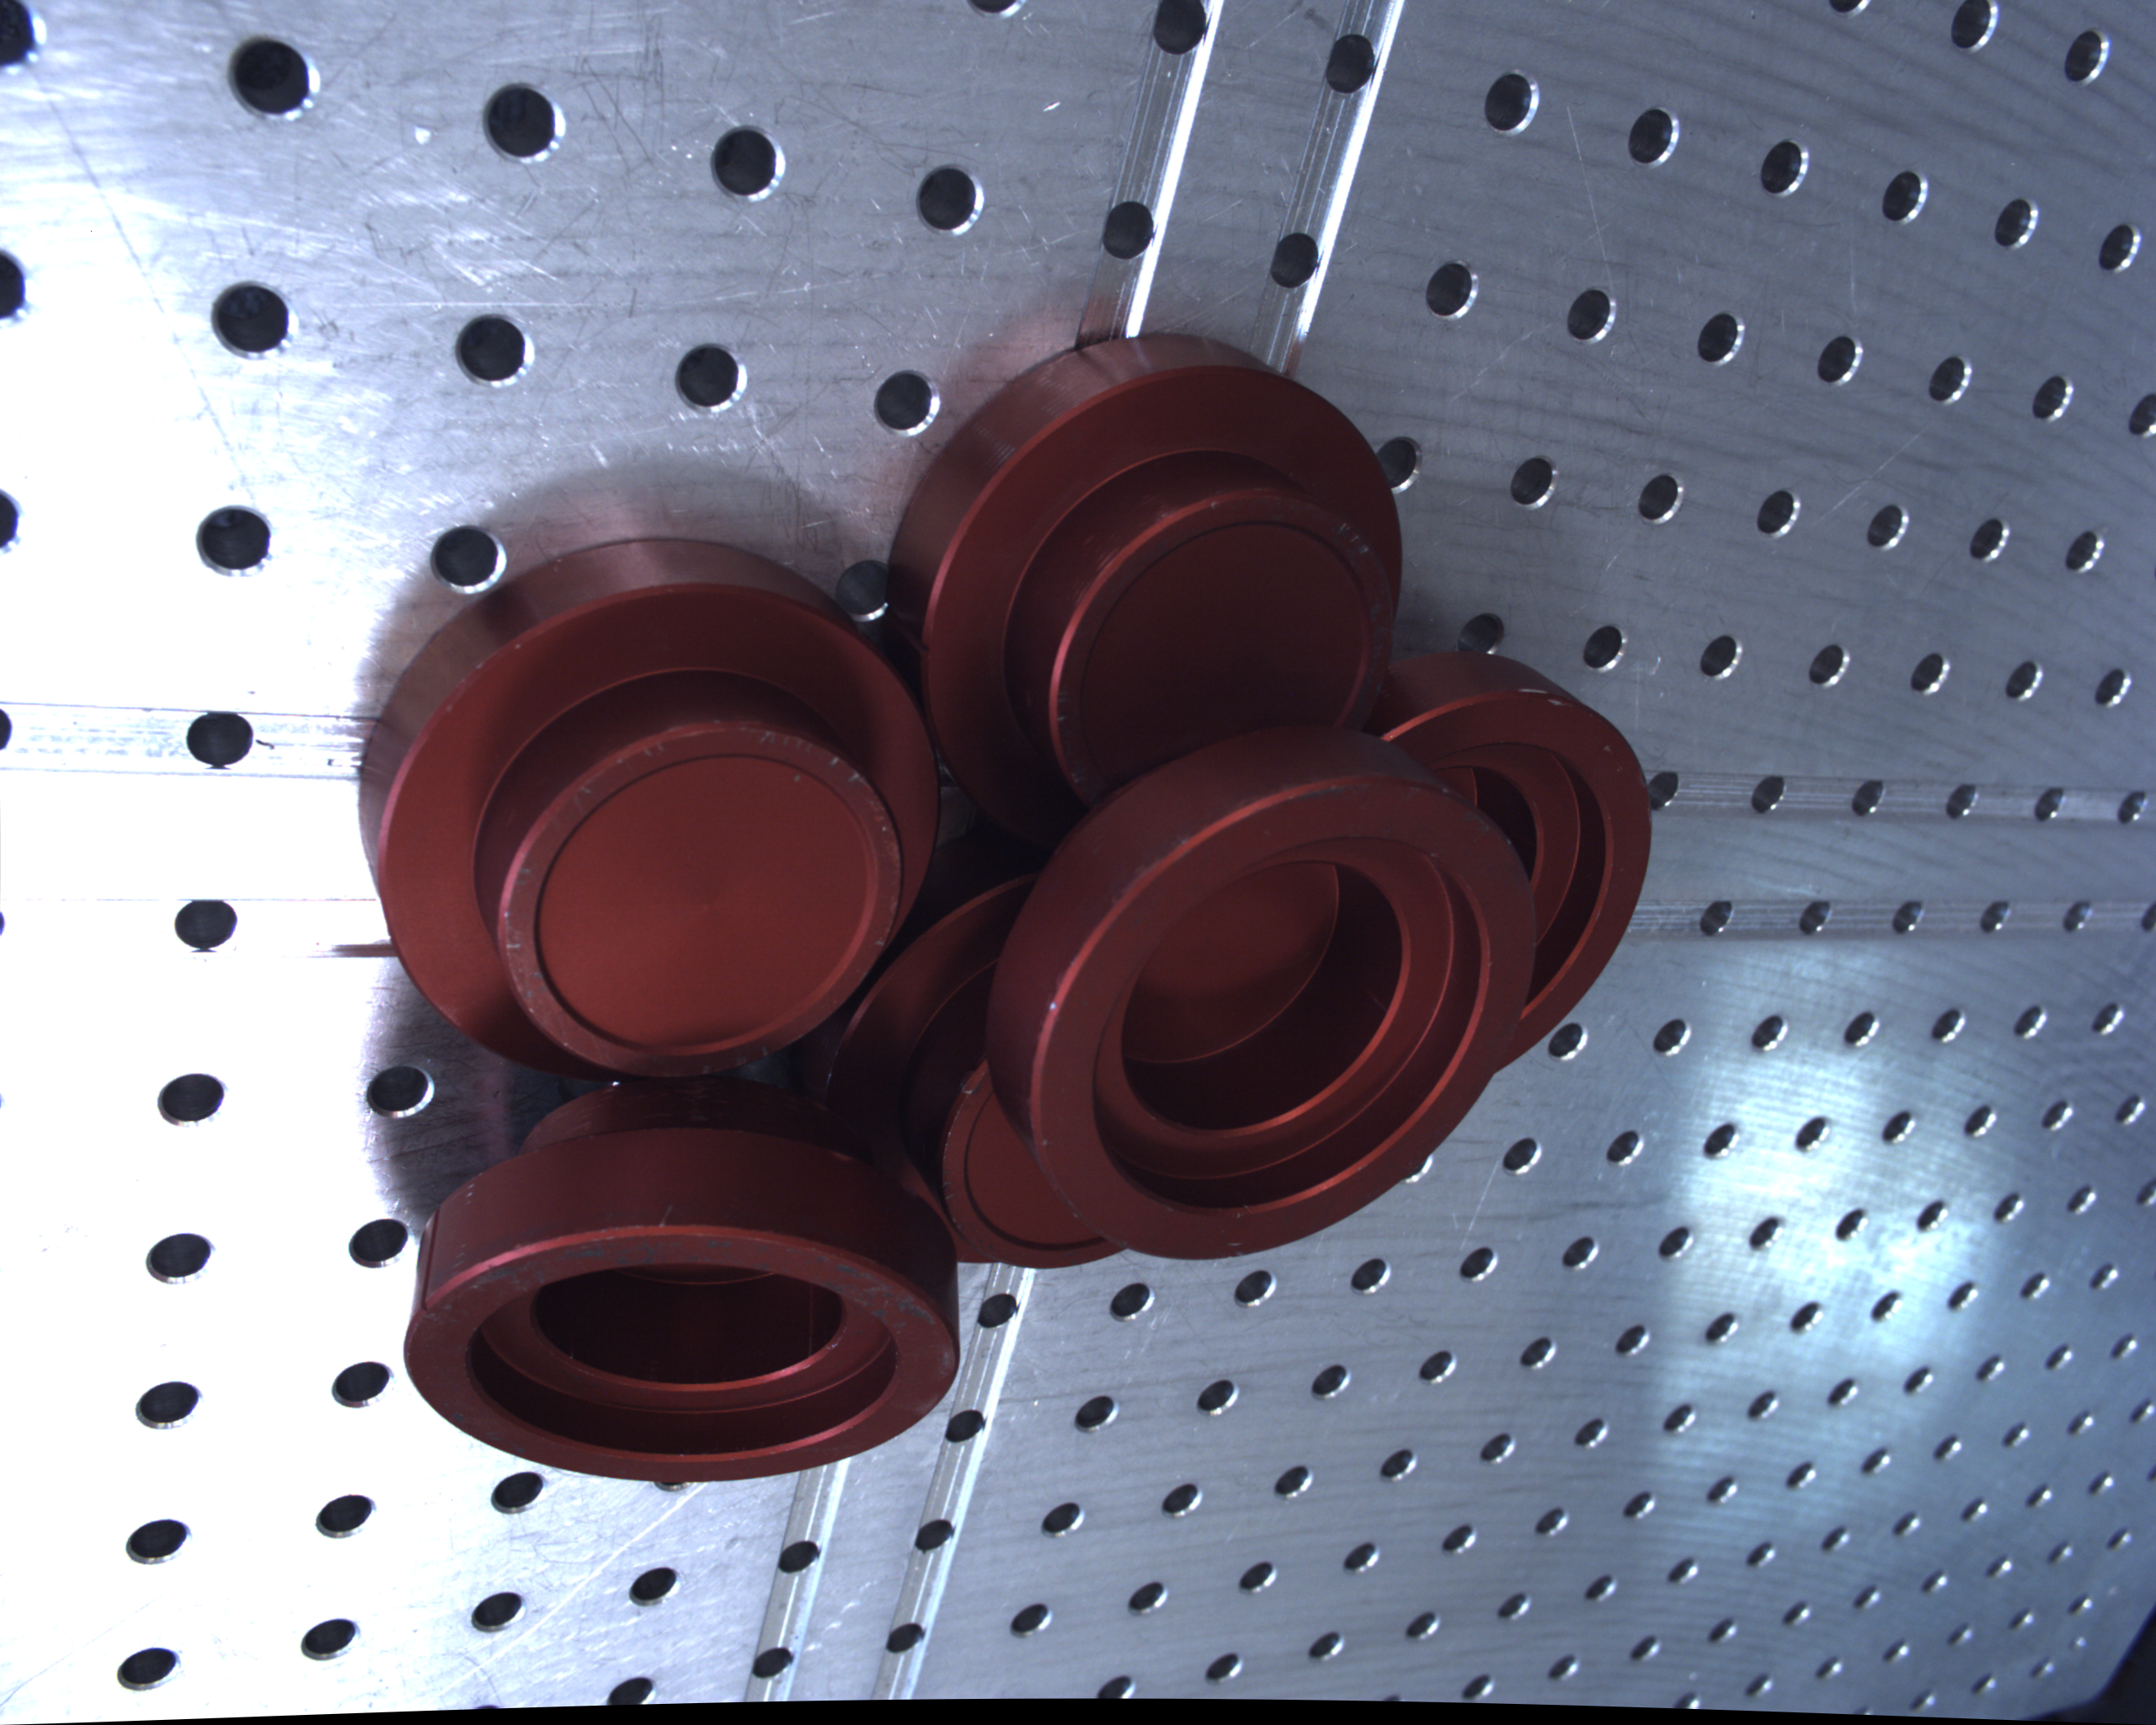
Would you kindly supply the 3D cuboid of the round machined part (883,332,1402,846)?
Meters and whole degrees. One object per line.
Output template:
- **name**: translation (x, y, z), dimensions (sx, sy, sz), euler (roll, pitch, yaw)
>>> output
- **round machined part**: translation (0.018, -0.043, 0.382), dimensions (0.099, 0.042, 0.097), euler (-14, 124, -21)

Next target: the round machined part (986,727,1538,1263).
- **round machined part**: translation (0.029, 0.020, 0.372), dimensions (0.099, 0.042, 0.097), euler (-14, 124, -21)

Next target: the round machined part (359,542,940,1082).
- **round machined part**: translation (-0.069, -0.002, 0.360), dimensions (0.099, 0.042, 0.097), euler (-14, 124, -21)

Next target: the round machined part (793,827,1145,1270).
- **round machined part**: translation (-0.004, 0.043, 0.423), dimensions (0.099, 0.042, 0.097), euler (-14, 124, -21)

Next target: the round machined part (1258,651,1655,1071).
- **round machined part**: translation (0.067, 0.000, 0.436), dimensions (0.099, 0.042, 0.097), euler (-14, 124, -21)

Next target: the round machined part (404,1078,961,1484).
- **round machined part**: translation (-0.072, 0.076, 0.390), dimensions (0.099, 0.042, 0.098), euler (-4, 140, -3)
